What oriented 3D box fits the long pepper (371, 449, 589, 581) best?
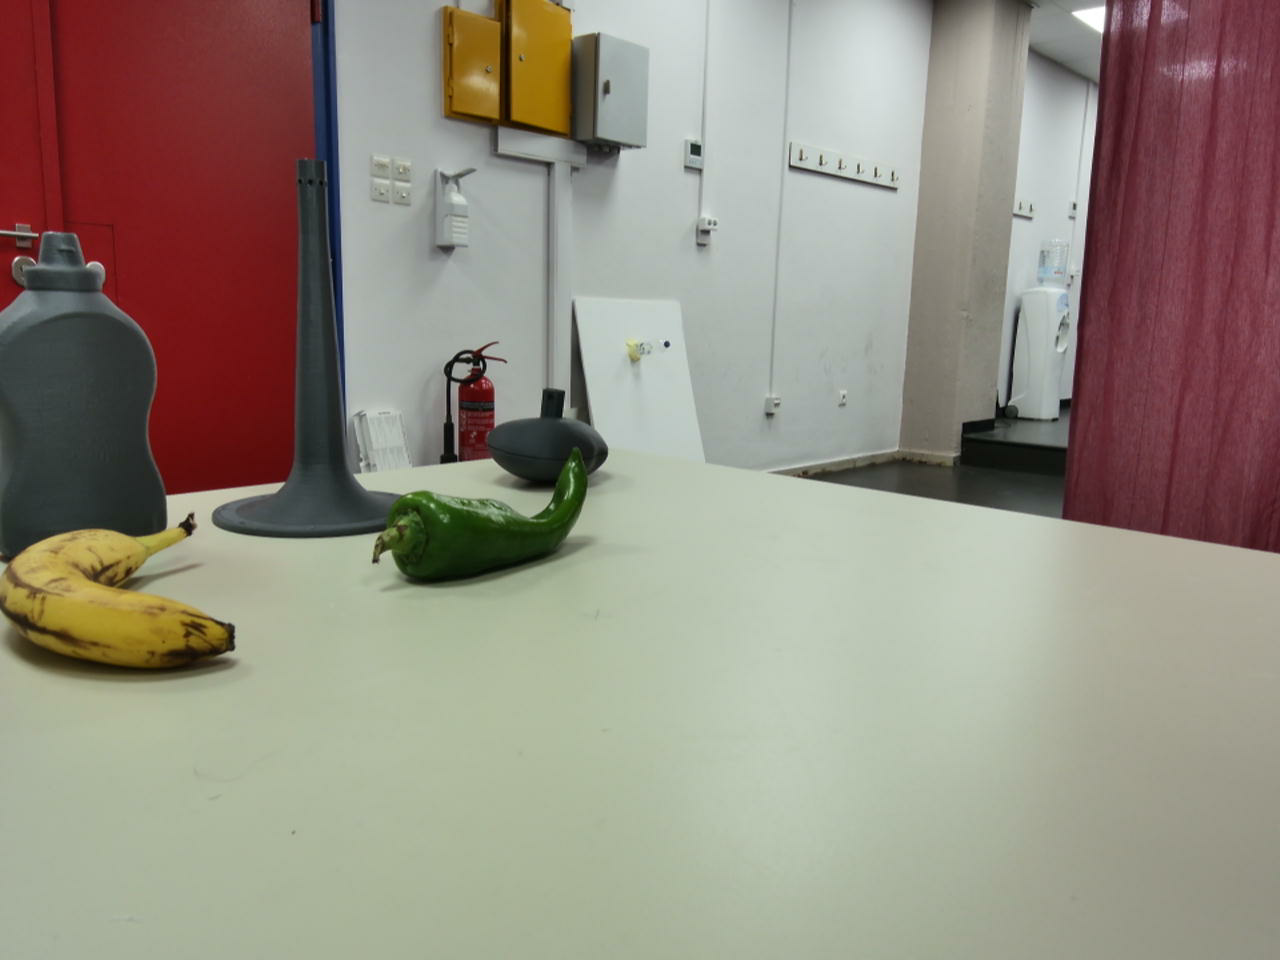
[{"bbox_3d":[-0.089,0.020,0.610,0.058,0.065,0.175,8,10,40],"label":"long pepper"}]
